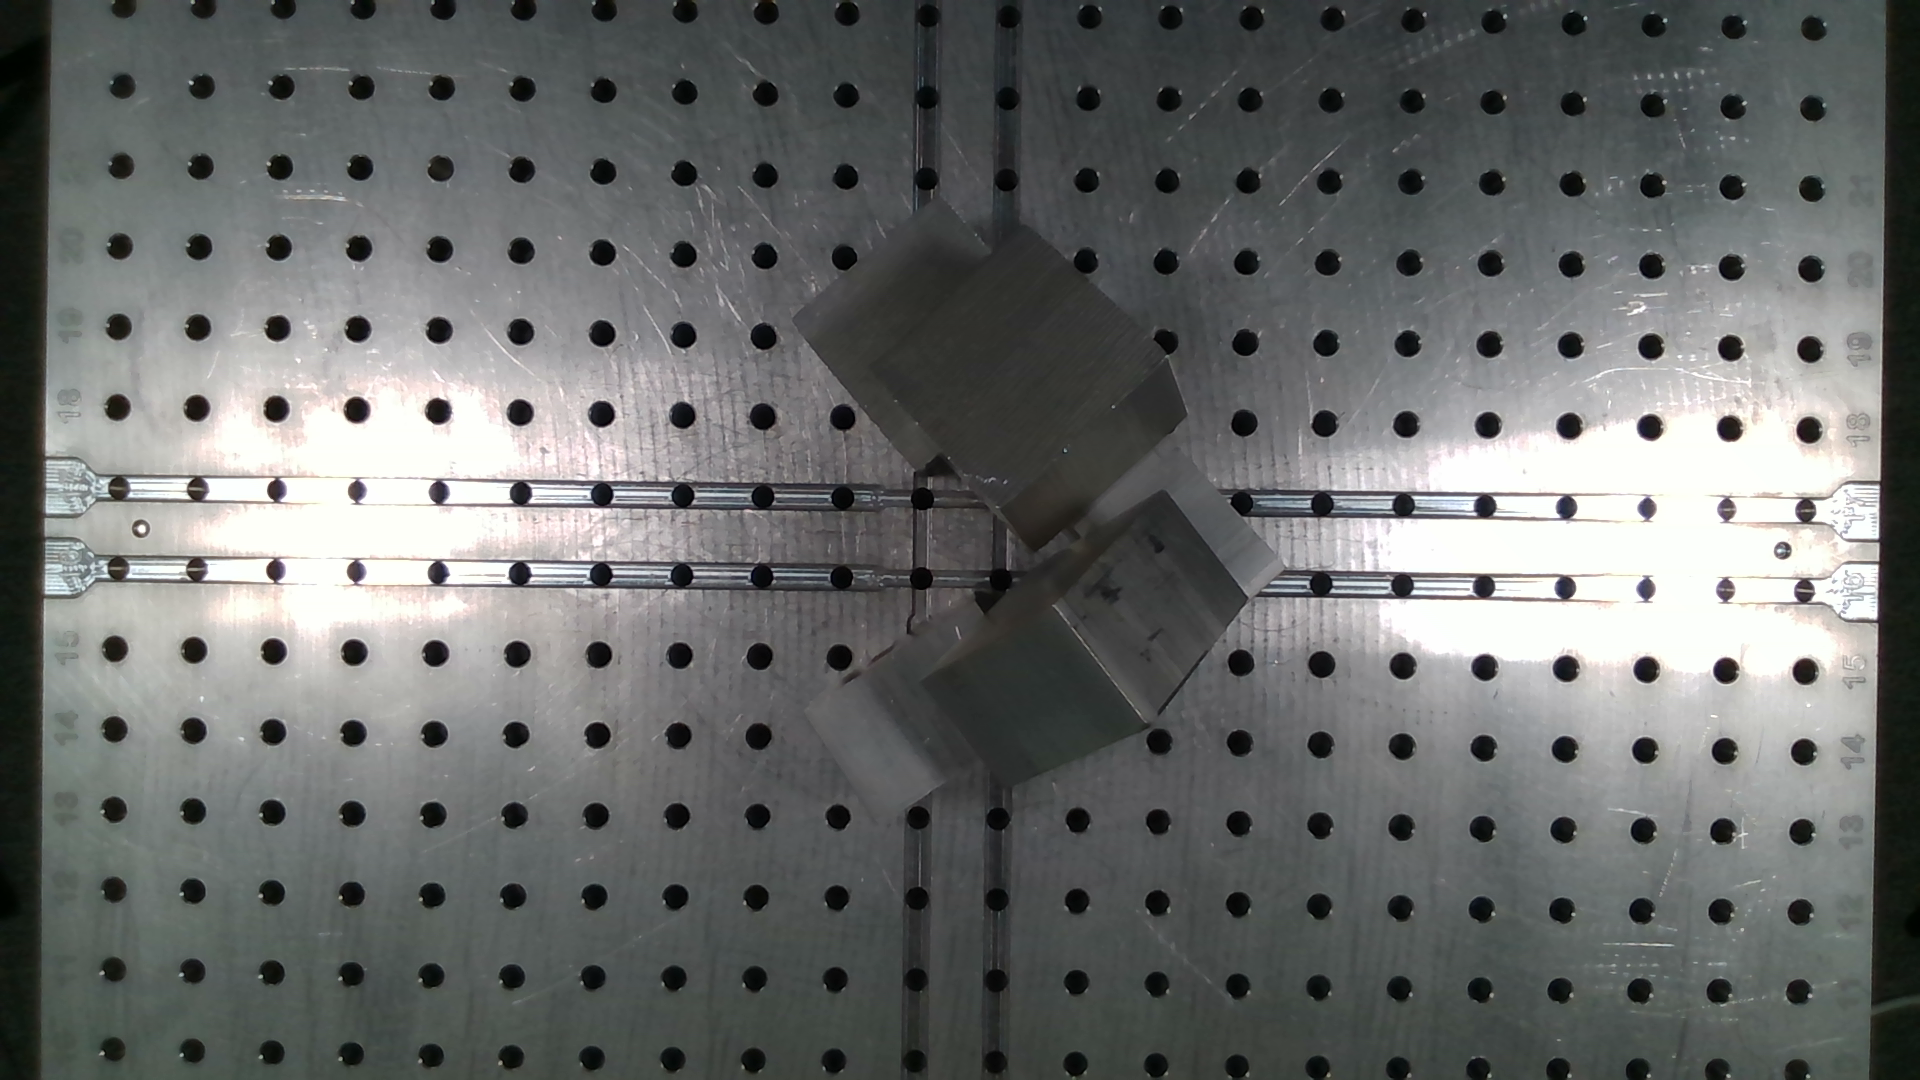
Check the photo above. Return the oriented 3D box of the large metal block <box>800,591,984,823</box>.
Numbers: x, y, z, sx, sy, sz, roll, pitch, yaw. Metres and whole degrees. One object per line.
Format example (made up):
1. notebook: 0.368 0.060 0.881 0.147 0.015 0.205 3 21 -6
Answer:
1. large metal block: -0.014 0.064 0.561 0.080 0.080 0.050 -34 90 0

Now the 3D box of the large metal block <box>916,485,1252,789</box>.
1. large metal block: 0.044 0.035 0.491 0.050 0.080 0.080 51 48 -5

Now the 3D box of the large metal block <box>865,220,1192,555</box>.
1. large metal block: 0.026 -0.056 0.511 0.080 0.050 0.080 -42 65 0

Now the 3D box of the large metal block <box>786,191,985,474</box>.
1. large metal block: -0.013 -0.083 0.576 0.080 0.050 0.080 -40 90 0

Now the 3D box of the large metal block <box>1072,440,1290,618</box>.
1. large metal block: 0.080 -0.003 0.560 0.050 0.080 0.080 -42 90 0
